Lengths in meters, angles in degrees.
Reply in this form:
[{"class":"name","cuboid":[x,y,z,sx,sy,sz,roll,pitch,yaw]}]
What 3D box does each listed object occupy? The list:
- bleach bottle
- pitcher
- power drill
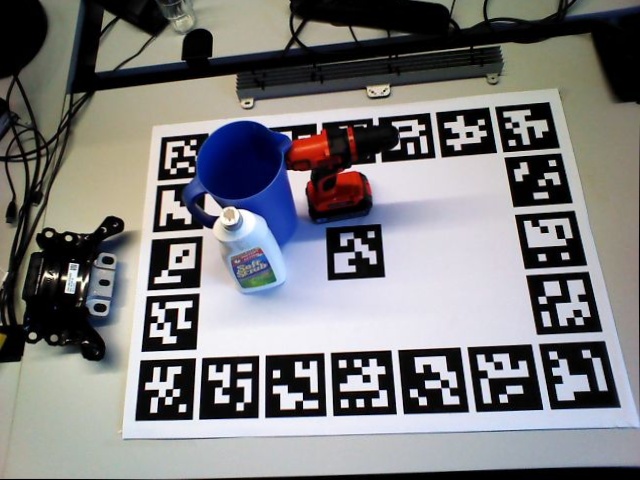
[{"class":"bleach bottle","cuboid":[-0.099,0.020,0.790,0.103,0.251,0.067,-11,69,3]},{"class":"pitcher","cuboid":[-0.090,-0.068,0.843,0.189,0.243,0.133,-29,70,-4]},{"class":"power drill","cuboid":[0.078,-0.095,0.840,0.185,0.187,0.057,-7,72,-2]}]
